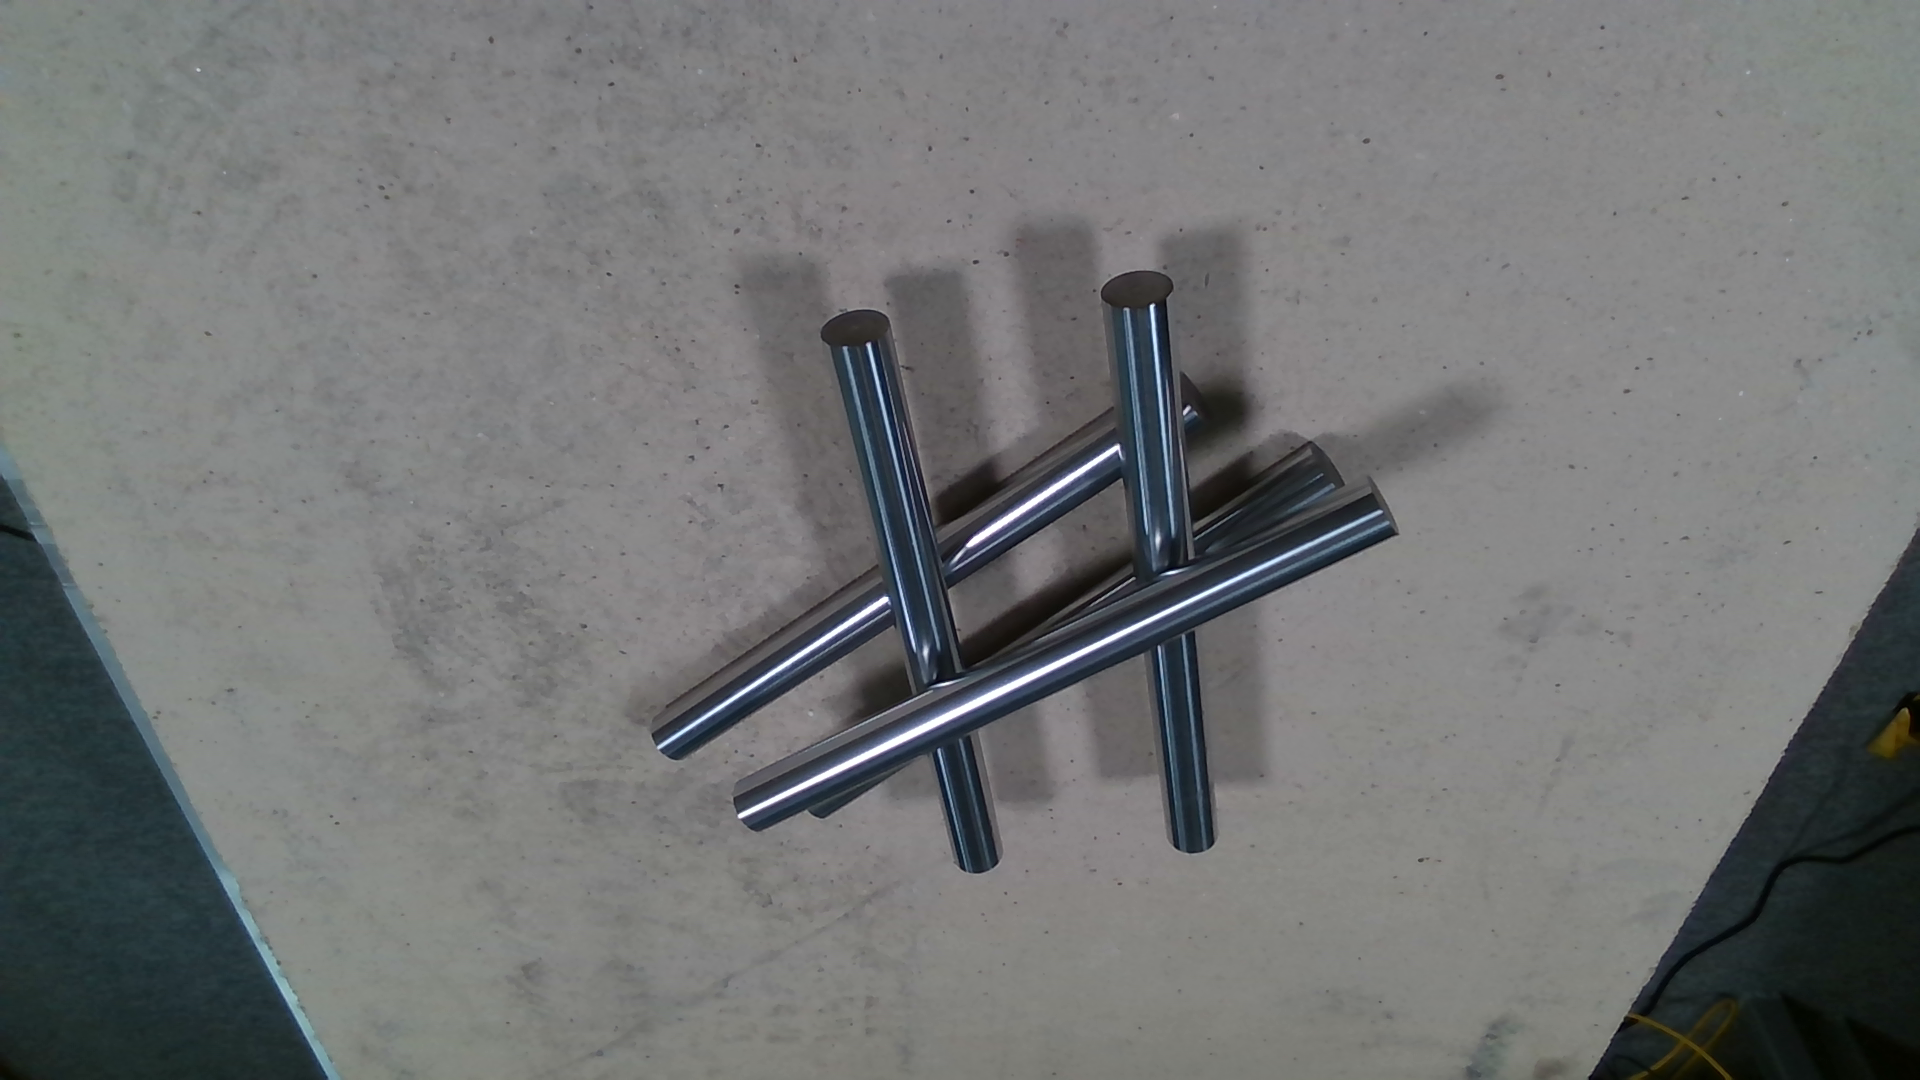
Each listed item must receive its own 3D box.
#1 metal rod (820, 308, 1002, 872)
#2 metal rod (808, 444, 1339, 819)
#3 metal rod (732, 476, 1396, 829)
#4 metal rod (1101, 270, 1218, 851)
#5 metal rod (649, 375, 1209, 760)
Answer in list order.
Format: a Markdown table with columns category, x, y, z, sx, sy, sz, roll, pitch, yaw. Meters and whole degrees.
| category | x | y | z | sx | sy | sz | roll | pitch | yaw |
| --- | --- | --- | --- | --- | --- | --- | --- | --- | --- |
| metal rod | -0.014 | 0.039 | 0.580 | 0.025 | 0.025 | 0.301 | -7 | 130 | 6 |
| metal rod | 0.038 | 0.050 | 0.621 | 0.300 | 0.025 | 0.025 | -35 | 122 | 26 |
| metal rod | 0.030 | 0.052 | 0.559 | 0.300 | 0.025 | 0.025 | -28 | 125 | 22 |
| metal rod | 0.087 | 0.027 | 0.570 | 0.025 | 0.025 | 0.301 | -8 | 130 | 6 |
| metal rod | -0.025 | 0.019 | 0.594 | 0.300 | 0.025 | 0.025 | -33 | 122 | 25 |
